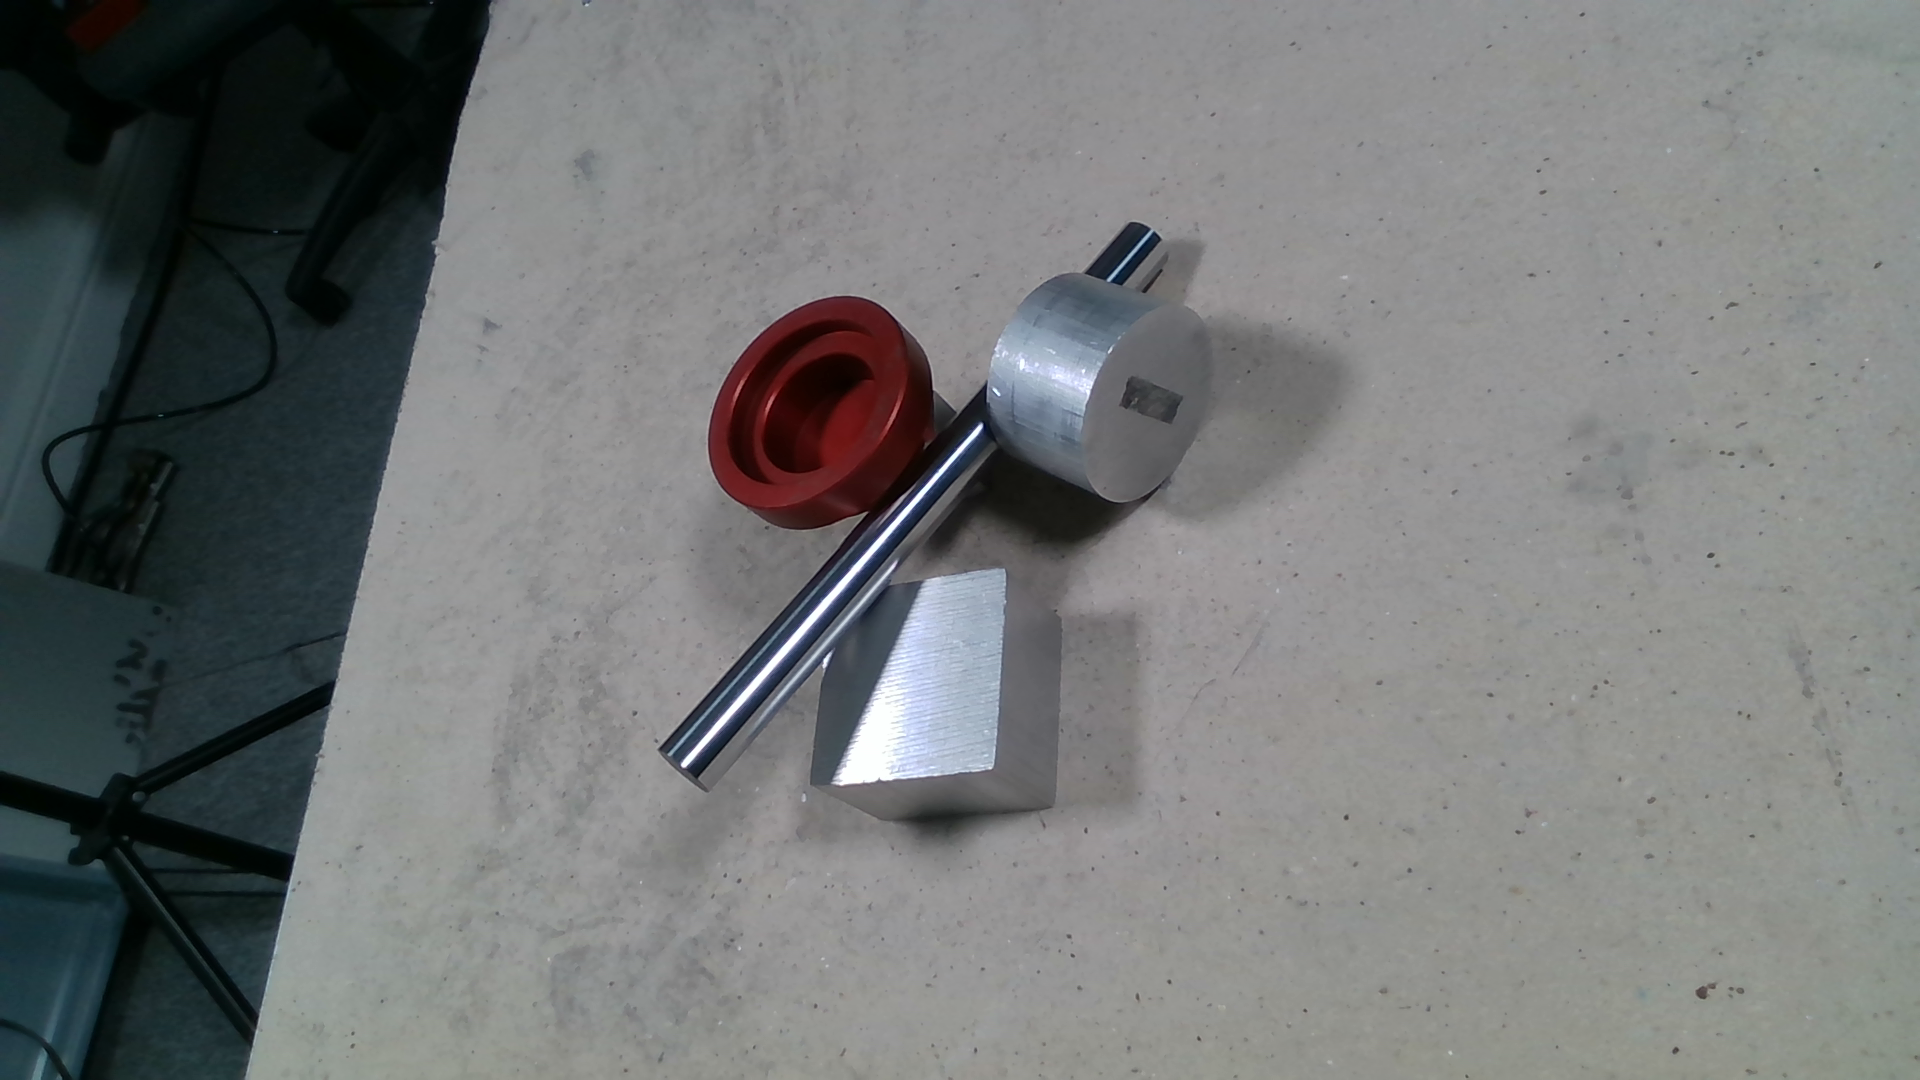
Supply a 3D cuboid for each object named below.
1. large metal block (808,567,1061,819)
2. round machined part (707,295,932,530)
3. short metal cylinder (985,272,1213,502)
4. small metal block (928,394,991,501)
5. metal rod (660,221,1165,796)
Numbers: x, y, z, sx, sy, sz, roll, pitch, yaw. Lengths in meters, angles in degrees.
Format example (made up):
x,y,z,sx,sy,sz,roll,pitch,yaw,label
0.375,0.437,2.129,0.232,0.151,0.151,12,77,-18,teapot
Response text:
x,y,z,sx,sy,sz,roll,pitch,yaw,label
-0.008,0.063,0.542,0.080,0.050,0.080,-10,61,27,large metal block
-0.053,-0.048,0.569,0.098,0.042,0.098,-15,59,26,round machined part
0.056,-0.061,0.548,0.050,0.080,0.080,27,81,38,short metal cylinder
-0.021,-0.035,0.602,0.050,0.050,0.025,-16,58,24,small metal block
-0.011,-0.022,0.556,0.025,0.025,0.299,24,65,38,metal rod
